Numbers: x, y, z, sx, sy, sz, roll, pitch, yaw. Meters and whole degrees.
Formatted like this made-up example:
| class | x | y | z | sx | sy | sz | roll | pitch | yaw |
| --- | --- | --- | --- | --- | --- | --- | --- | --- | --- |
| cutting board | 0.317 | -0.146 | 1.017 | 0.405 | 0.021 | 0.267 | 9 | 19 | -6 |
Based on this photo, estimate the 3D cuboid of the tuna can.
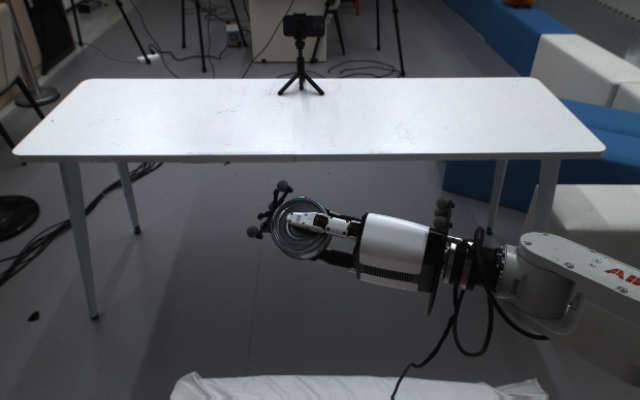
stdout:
| class | x | y | z | sx | sy | sz | roll | pitch | yaw |
| --- | --- | --- | --- | --- | --- | --- | --- | --- | --- |
| tuna can | -0.023 | 0.043 | 0.681 | 0.085 | 0.034 | 0.085 | -2 | 72 | 5 |
